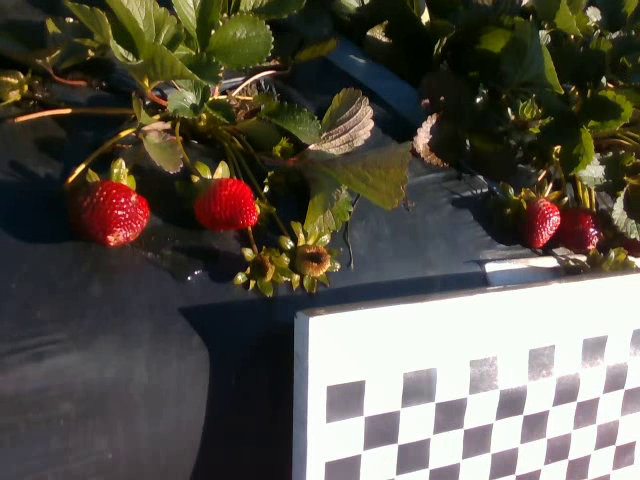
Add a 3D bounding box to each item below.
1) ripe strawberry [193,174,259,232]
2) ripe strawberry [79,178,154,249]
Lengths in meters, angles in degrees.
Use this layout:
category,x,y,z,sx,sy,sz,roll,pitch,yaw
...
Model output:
category,x,y,z,sx,sy,sz,roll,pitch,yaw
ripe strawberry,-0.055,-0.020,0.373,0.049,0.042,0.039,31,-16,41
ripe strawberry,-0.120,-0.012,0.339,0.050,0.045,0.050,16,20,-26
